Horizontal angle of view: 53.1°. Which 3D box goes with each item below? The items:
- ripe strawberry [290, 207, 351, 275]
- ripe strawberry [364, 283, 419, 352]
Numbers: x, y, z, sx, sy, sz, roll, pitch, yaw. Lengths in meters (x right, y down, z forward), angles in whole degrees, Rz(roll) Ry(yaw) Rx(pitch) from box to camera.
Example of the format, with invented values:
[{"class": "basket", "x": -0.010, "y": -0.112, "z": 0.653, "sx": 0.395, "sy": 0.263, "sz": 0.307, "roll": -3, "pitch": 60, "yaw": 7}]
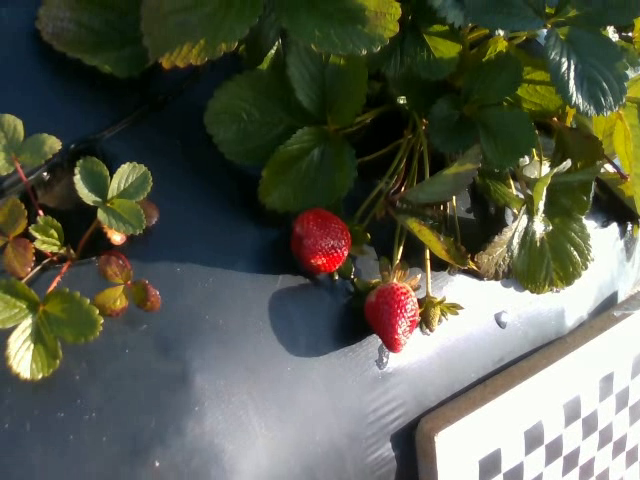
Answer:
[{"class": "ripe strawberry", "x": 0.000, "y": 0.001, "z": 0.407, "sx": 0.039, "sy": 0.048, "sz": 0.054, "roll": 8, "pitch": 6, "yaw": 30}, {"class": "ripe strawberry", "x": 0.049, "y": 0.050, "z": 0.408, "sx": 0.038, "sy": 0.053, "sz": 0.043, "roll": -32, "pitch": -49, "yaw": 29}]
